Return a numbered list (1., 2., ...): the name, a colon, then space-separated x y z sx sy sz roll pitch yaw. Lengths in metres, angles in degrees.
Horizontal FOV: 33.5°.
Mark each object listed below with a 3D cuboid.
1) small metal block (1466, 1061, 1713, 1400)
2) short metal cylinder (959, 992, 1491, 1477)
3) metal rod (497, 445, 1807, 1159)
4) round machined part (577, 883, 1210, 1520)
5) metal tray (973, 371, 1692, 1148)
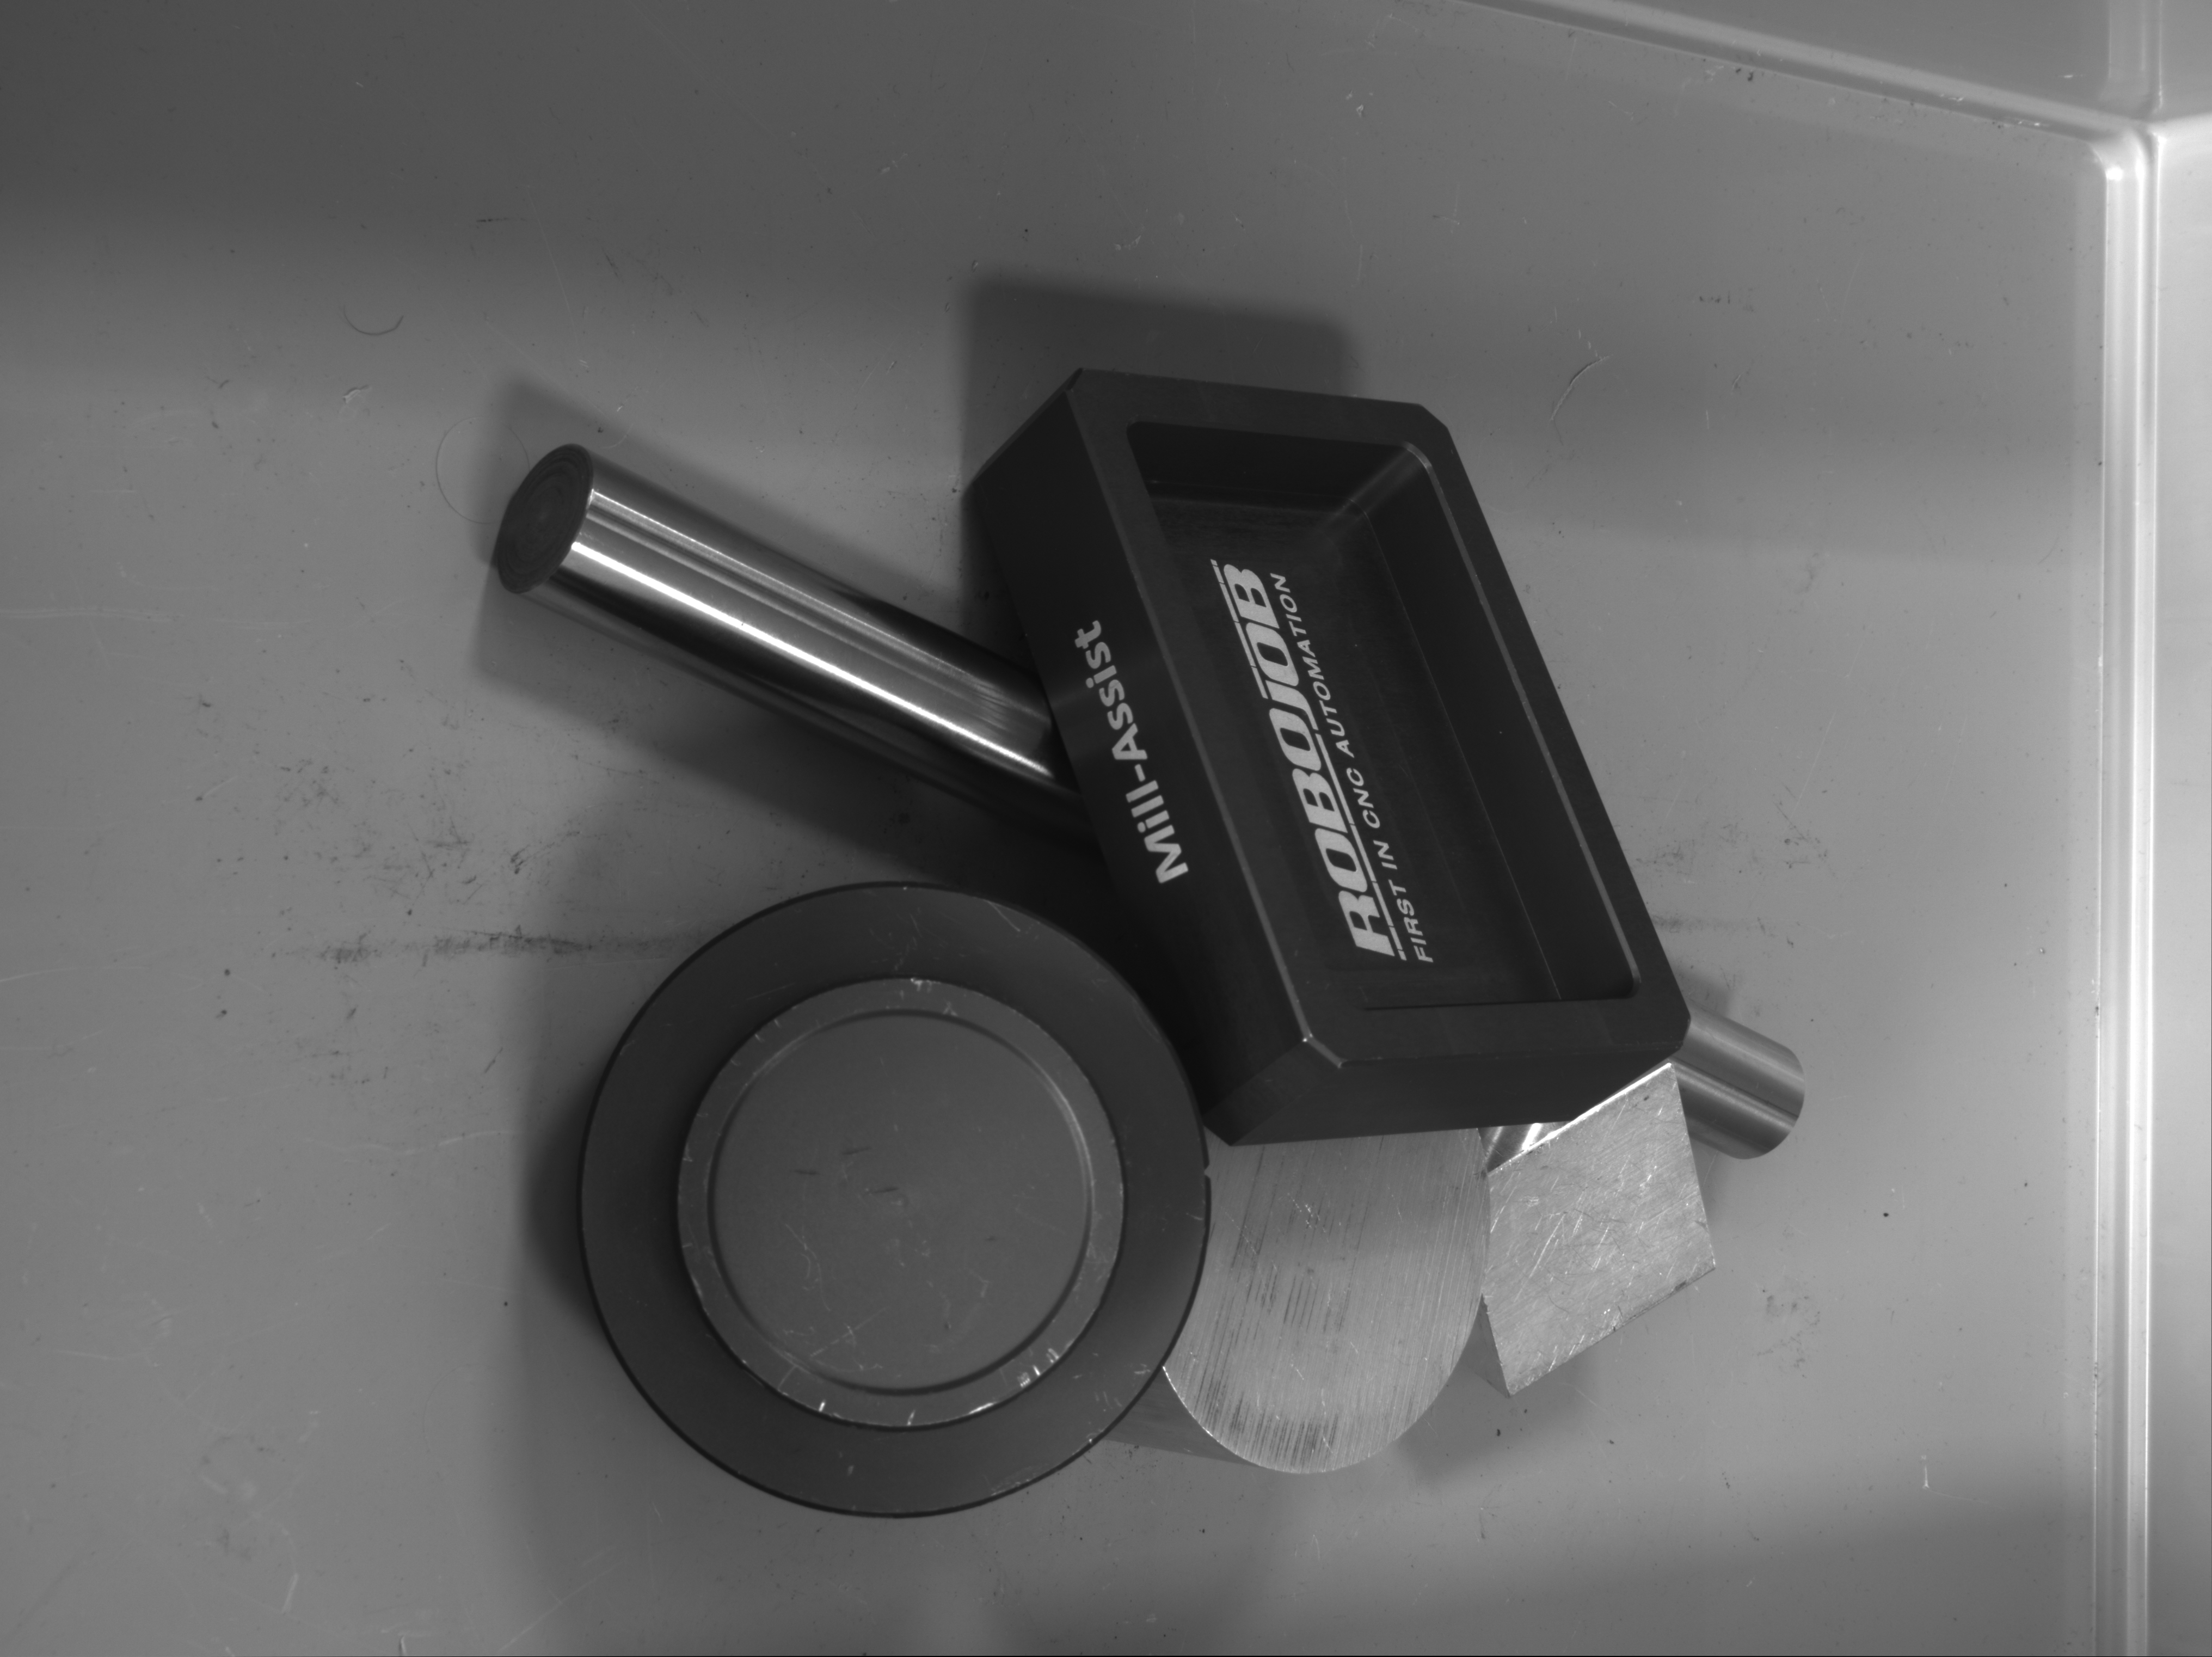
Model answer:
1. small metal block: 0.083 0.070 0.689 0.050 0.025 0.050 -29 124 -19
2. short metal cylinder: 0.021 0.069 0.635 0.080 0.050 0.080 0 90 -40
3. metal rod: 0.023 0.004 0.654 0.301 0.025 0.025 25 74 -37
4. round machined part: -0.032 0.057 0.567 0.098 0.042 0.098 1 85 -7
5. metal tray: 0.038 -0.013 0.625 0.090 0.030 0.130 0 61 -40
